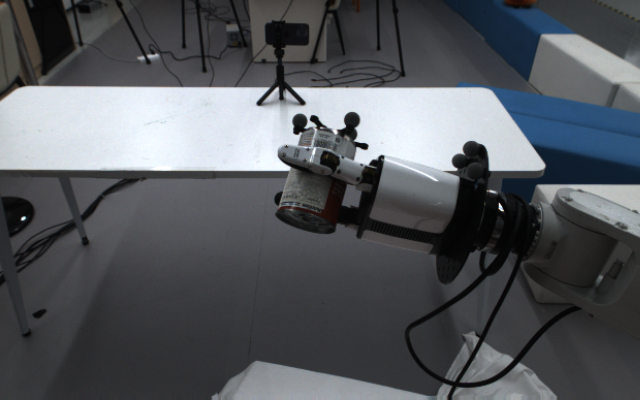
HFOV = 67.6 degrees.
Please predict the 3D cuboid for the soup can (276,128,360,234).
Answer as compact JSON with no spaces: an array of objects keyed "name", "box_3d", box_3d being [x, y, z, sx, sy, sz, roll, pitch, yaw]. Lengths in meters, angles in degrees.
[{"name":"soup can","box_3d":[-0.001,-0.021,0.539,0.067,0.067,0.101,11,72,13]}]
